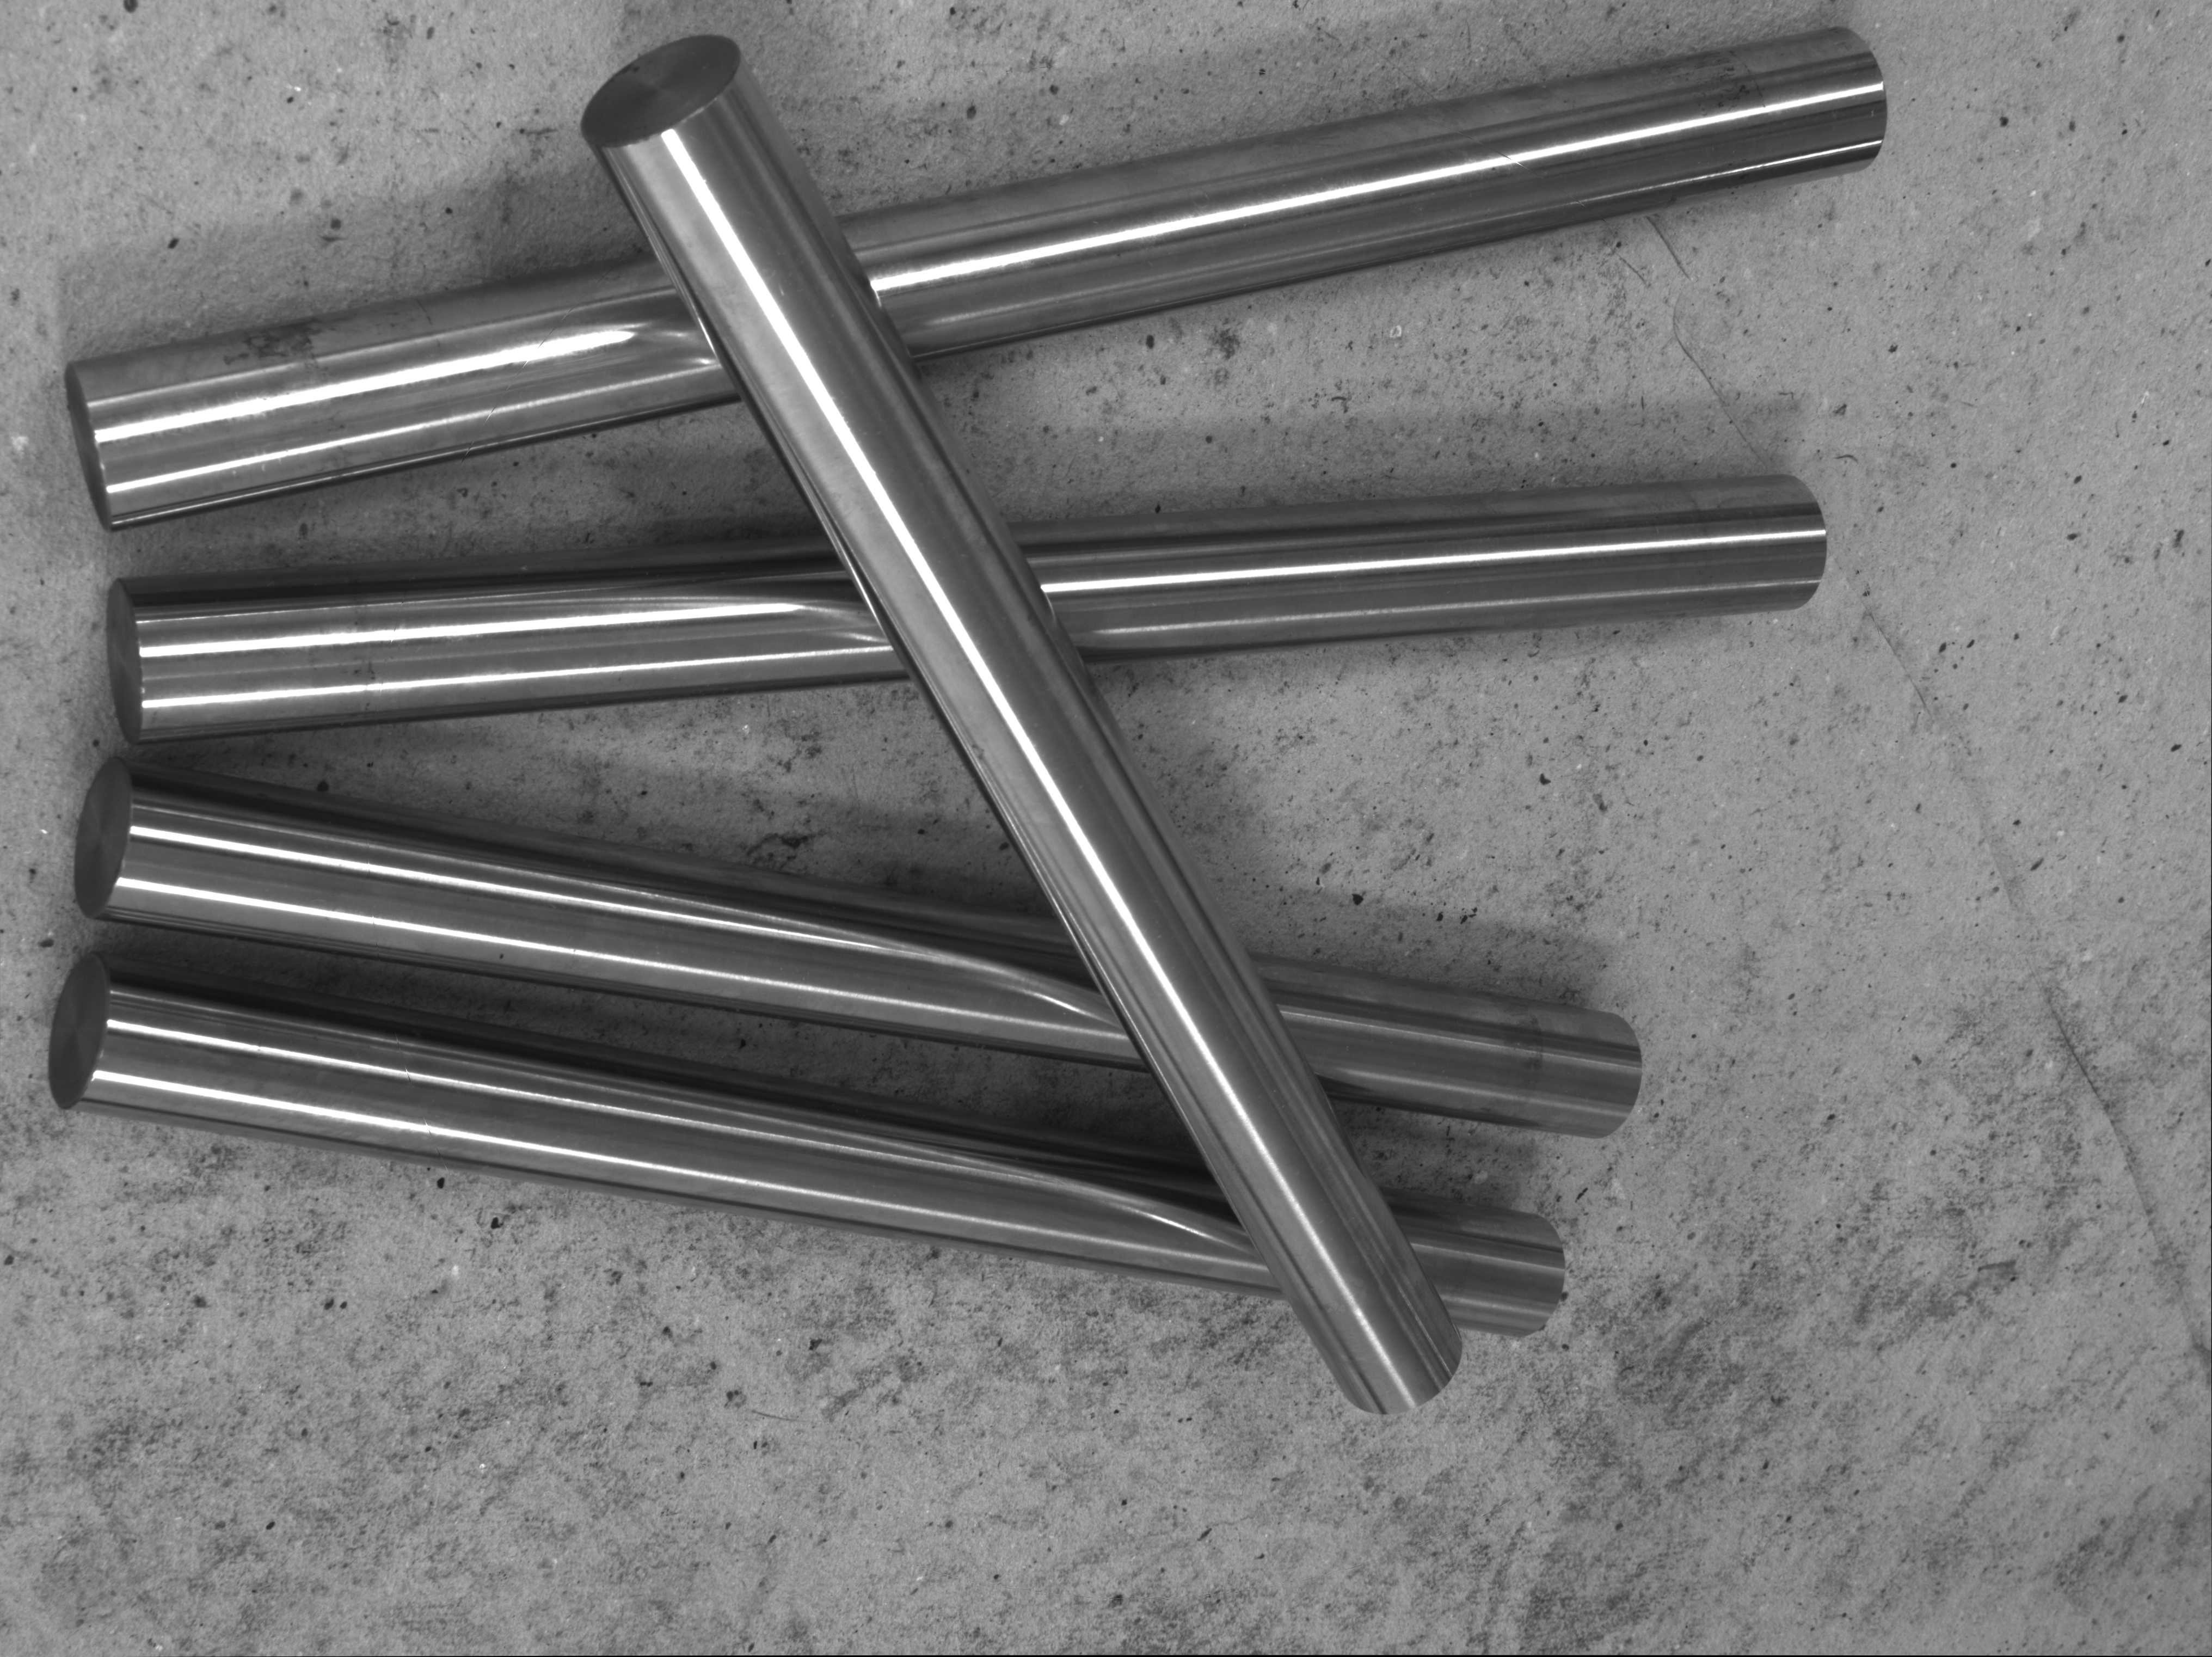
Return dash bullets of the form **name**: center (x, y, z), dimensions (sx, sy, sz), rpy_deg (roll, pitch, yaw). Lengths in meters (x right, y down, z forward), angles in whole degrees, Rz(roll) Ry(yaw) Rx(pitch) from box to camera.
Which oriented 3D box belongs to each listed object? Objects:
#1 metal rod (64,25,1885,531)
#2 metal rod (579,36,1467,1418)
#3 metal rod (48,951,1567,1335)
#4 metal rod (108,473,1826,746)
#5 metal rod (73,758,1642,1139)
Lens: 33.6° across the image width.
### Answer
- **metal rod**: center (-0.010, -0.090, 0.578), dimensions (0.301, 0.025, 0.025), rpy_deg (-15, 124, -20)
- **metal rod**: center (-0.003, 0.000, 0.603), dimensions (0.025, 0.025, 0.301), rpy_deg (-35, 128, -5)
- **metal rod**: center (-0.038, 0.060, 0.653), dimensions (0.301, 0.025, 0.025), rpy_deg (13, 111, -34)
- **metal rod**: center (-0.010, -0.039, 0.609), dimensions (0.301, 0.025, 0.025), rpy_deg (-6, 121, -25)
- **metal rod**: center (-0.028, 0.025, 0.637), dimensions (0.301, 0.025, 0.025), rpy_deg (11, 113, -33)
